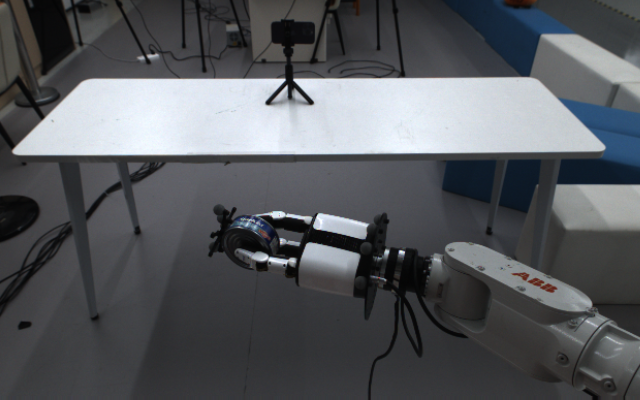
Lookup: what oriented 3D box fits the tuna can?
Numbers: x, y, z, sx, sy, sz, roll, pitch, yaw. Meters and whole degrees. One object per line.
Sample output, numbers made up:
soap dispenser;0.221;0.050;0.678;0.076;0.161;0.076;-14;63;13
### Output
tuna can;-0.106;0.065;0.747;0.085;0.085;0.034;11;36;13
